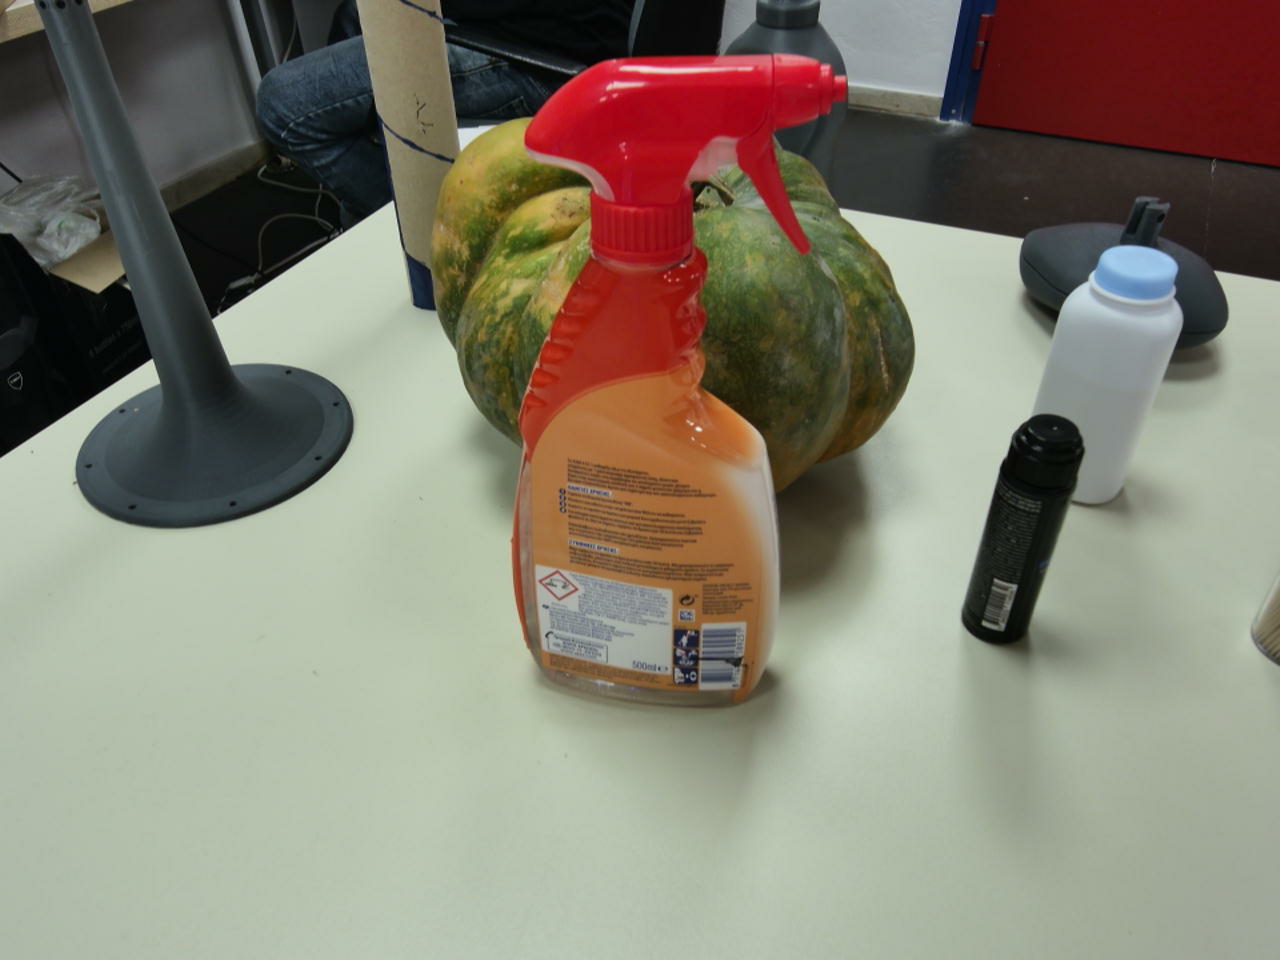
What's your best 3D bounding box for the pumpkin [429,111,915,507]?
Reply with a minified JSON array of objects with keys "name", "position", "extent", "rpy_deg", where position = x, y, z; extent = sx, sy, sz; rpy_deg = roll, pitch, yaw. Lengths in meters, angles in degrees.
[{"name":"pumpkin","position":[0.017,-0.098,0.529],"extent":[0.237,0.173,0.270],"rpy_deg":[-18,41,-21]}]
